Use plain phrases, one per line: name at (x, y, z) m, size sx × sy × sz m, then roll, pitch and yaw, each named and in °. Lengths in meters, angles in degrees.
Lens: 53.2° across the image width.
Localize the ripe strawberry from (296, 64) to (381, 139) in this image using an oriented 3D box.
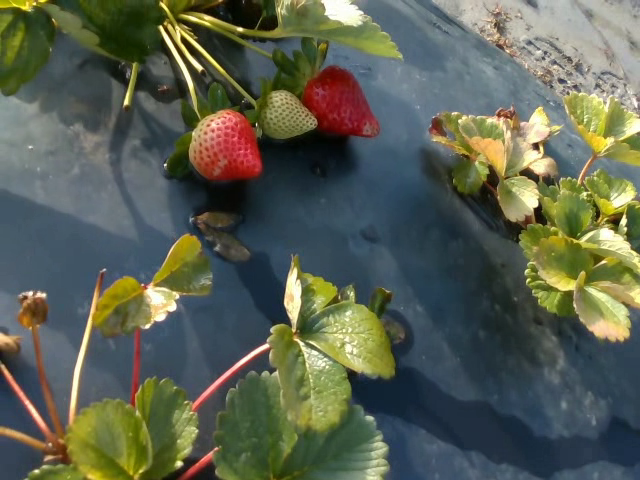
ripe strawberry at (0.017, -0.086, 0.414) m, size 0.048 × 0.064 × 0.050 m, roll -45°, pitch 1°, yaw 2°
